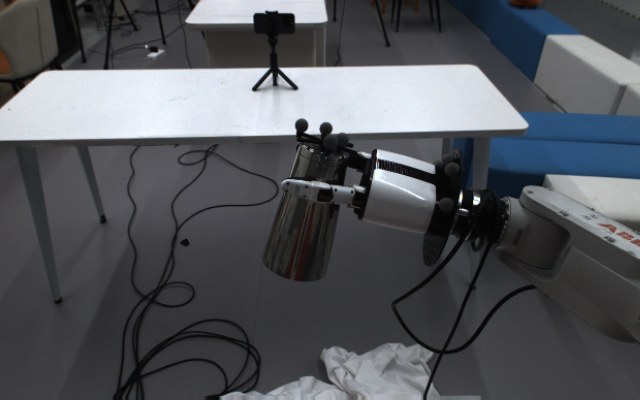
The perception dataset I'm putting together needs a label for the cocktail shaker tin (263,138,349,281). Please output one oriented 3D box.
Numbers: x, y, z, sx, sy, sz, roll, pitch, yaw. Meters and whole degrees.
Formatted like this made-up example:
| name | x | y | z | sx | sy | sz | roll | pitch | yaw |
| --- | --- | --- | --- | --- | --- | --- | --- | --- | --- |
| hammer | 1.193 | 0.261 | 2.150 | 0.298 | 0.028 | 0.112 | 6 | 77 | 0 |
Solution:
| name | x | y | z | sx | sy | sz | roll | pitch | yaw |
| --- | --- | --- | --- | --- | --- | --- | --- | --- | --- |
| cocktail shaker tin | -0.013 | 0.010 | 0.650 | 0.093 | 0.170 | 0.093 | 14 | 18 | -5 |
